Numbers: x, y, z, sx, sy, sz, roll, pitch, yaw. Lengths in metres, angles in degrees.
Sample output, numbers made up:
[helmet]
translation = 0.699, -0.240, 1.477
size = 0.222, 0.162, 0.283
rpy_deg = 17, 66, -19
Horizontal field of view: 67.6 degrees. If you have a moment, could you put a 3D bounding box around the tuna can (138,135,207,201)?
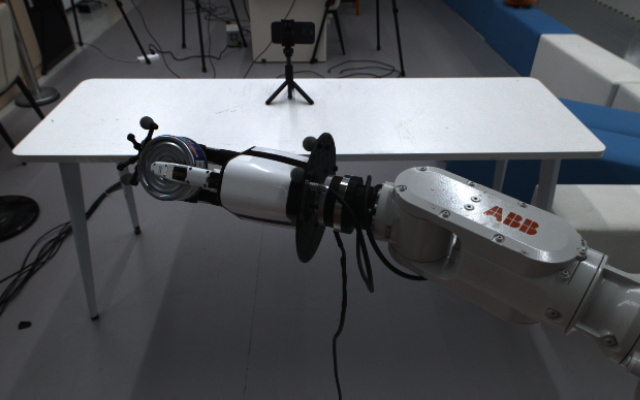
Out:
[tuna can]
translation = -0.190, -0.042, 0.628
size = 0.085, 0.085, 0.034
rpy_deg = 12, 5, 14
